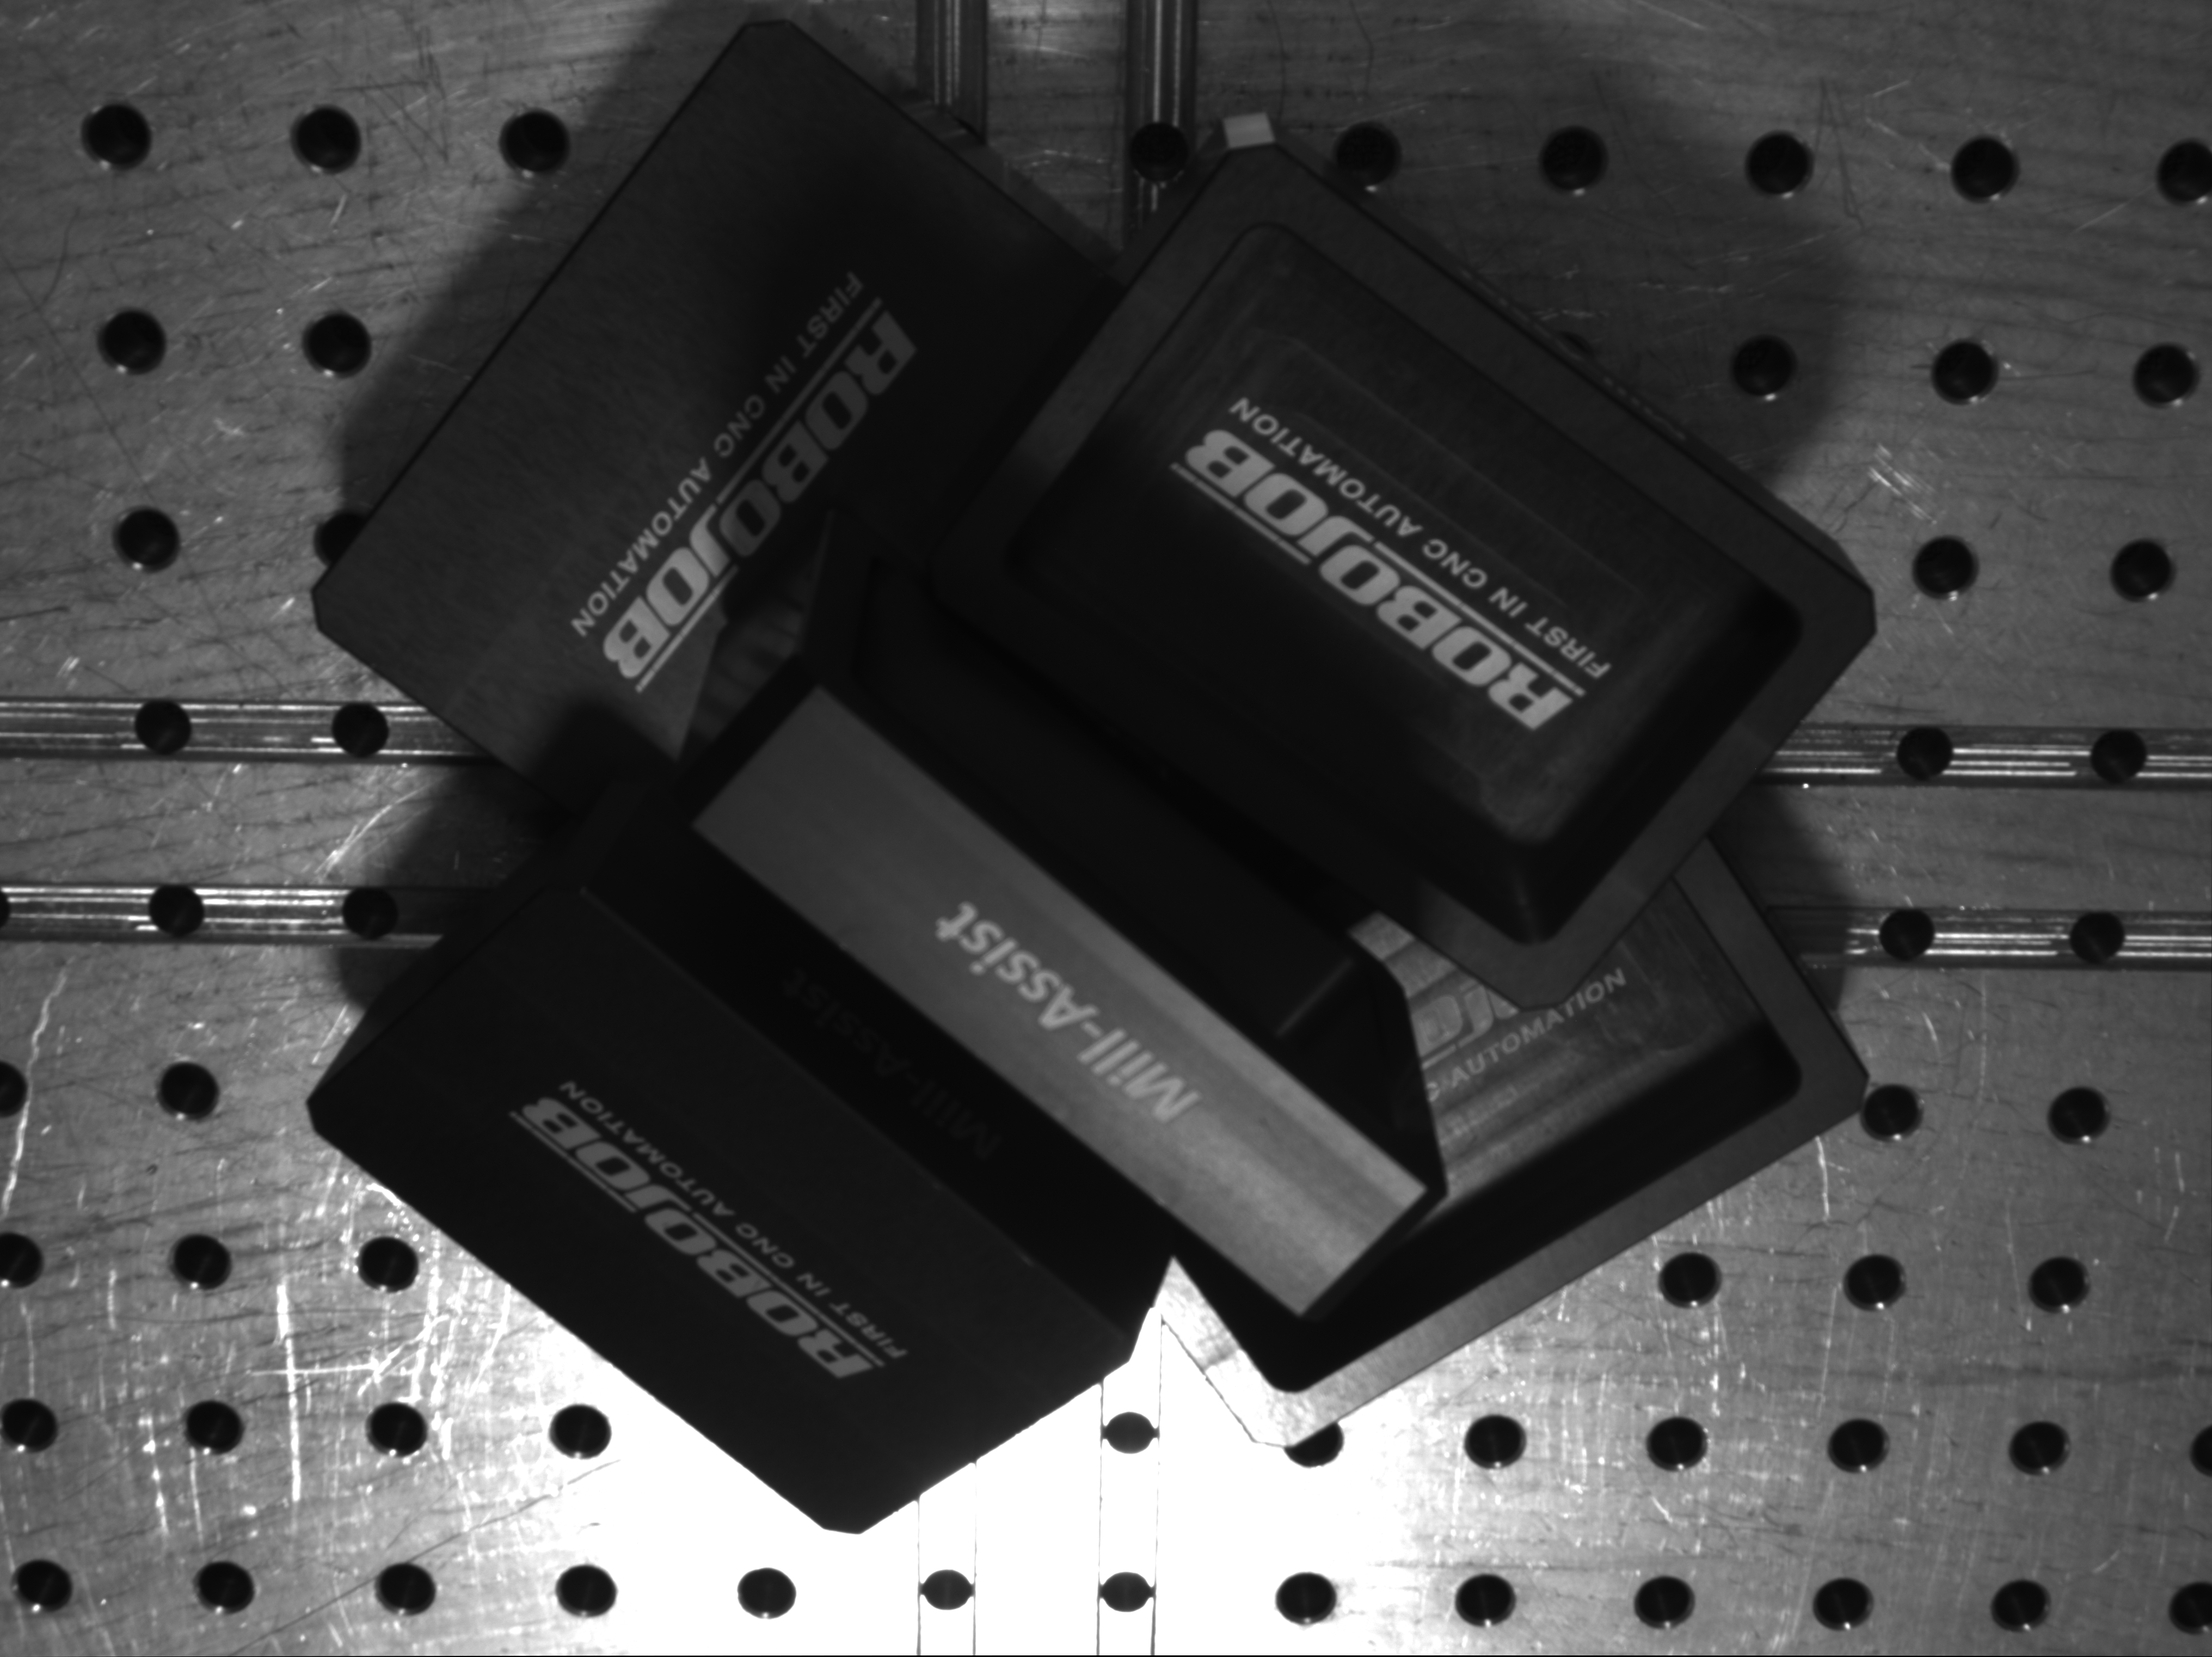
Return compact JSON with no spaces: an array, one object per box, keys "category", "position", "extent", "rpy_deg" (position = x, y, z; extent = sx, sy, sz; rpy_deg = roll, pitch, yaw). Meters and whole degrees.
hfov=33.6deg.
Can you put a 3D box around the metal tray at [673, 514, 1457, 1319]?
[{"category":"metal tray","position":[-0.005,0.012,0.582],"extent":[0.130,0.090,0.030],"rpy_deg":[39,105,-13]}]

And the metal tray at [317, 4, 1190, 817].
[{"category":"metal tray","position":[-0.059,-0.062,0.619],"extent":[0.090,0.030,0.130],"rpy_deg":[37,105,-13]}]

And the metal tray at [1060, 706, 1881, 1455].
[{"category":"metal tray","position":[0.060,0.043,0.658],"extent":[0.130,0.030,0.090],"rpy_deg":[-32,107,10]}]

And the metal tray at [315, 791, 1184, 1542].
[{"category":"metal tray","position":[-0.063,0.063,0.645],"extent":[0.130,0.030,0.090],"rpy_deg":[41,130,-14]}]

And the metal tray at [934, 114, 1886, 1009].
[{"category":"metal tray","position":[0.049,-0.042,0.596],"extent":[0.130,0.030,0.090],"rpy_deg":[35,106,-12]}]
